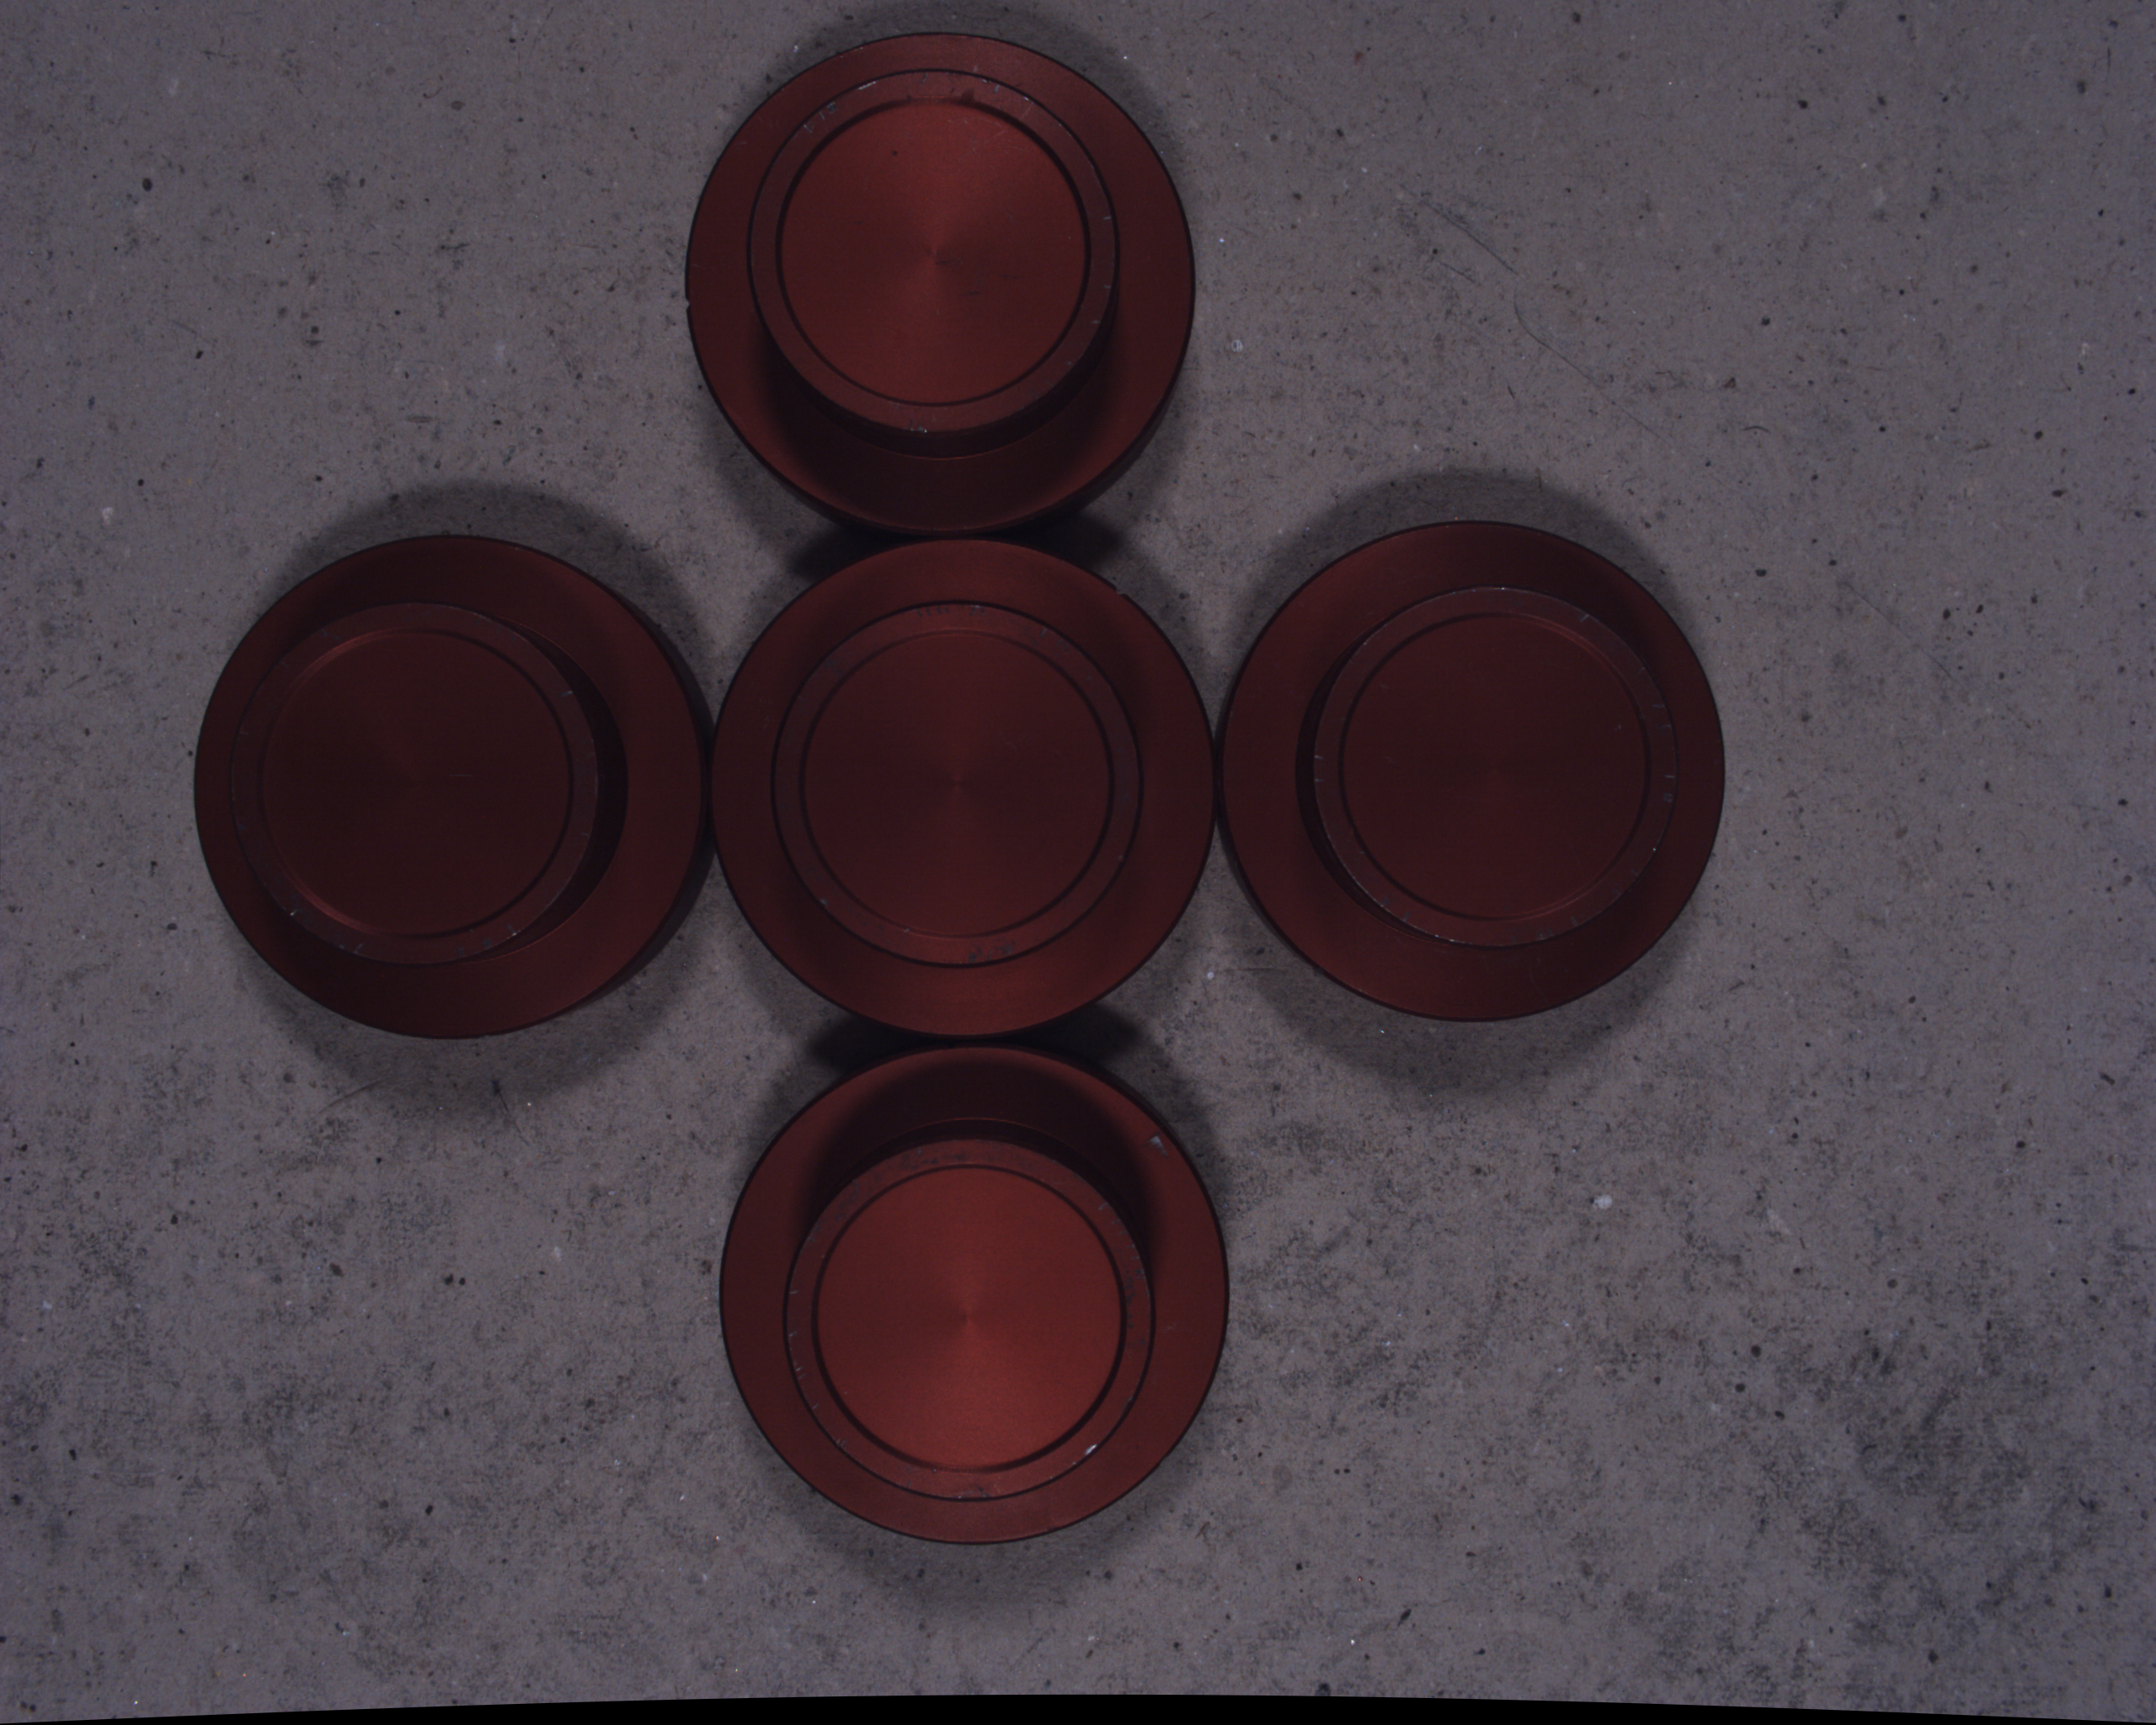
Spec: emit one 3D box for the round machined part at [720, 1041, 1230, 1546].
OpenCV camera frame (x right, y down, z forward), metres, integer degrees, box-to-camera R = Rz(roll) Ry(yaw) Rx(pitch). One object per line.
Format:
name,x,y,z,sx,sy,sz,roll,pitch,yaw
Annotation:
round machined part,-0.020,0.083,0.402,0.099,0.042,0.097,0,90,-1

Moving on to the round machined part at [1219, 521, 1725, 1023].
round machined part,0.077,-0.018,0.404,0.099,0.042,0.097,0,90,-1

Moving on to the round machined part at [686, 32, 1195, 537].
round machined part,-0.027,-0.112,0.402,0.099,0.042,0.097,0,90,-1

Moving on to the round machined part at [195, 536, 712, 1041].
round machined part,-0.121,-0.014,0.401,0.099,0.042,0.097,0,90,-1

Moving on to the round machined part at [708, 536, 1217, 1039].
round machined part,-0.022,-0.014,0.402,0.099,0.042,0.097,0,90,-1
